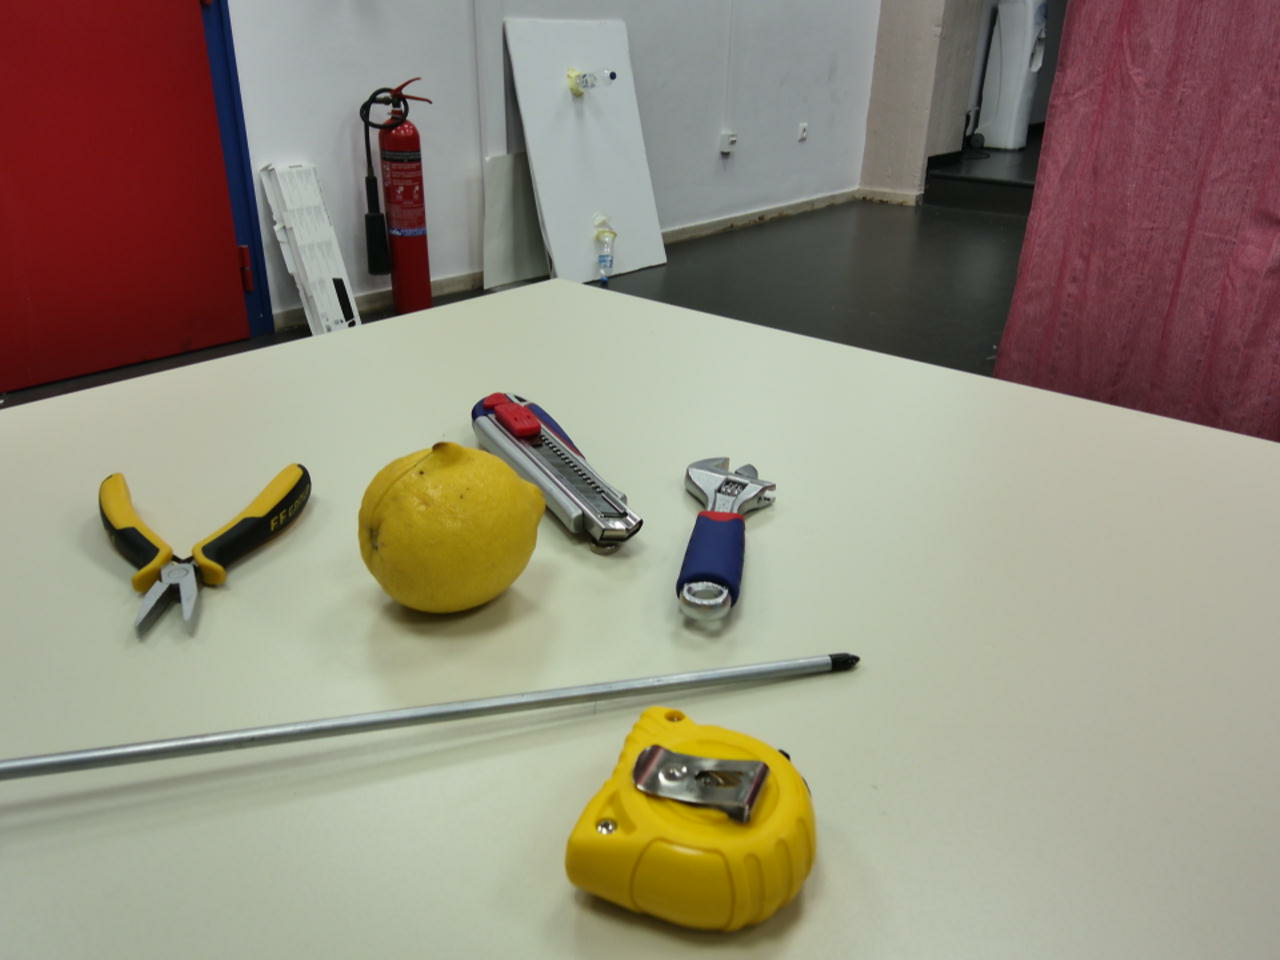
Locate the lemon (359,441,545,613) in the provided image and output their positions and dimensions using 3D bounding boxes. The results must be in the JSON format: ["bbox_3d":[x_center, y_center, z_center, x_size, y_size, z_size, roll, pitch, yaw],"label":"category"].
[{"bbox_3d":[-0.078,0.016,0.405,0.071,0.071,0.070,2,23,5],"label":"lemon"}]
